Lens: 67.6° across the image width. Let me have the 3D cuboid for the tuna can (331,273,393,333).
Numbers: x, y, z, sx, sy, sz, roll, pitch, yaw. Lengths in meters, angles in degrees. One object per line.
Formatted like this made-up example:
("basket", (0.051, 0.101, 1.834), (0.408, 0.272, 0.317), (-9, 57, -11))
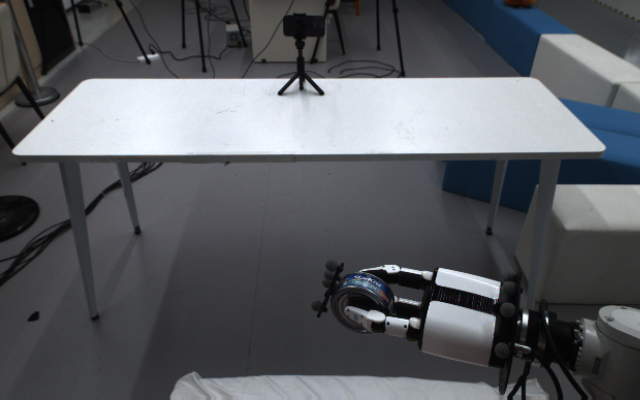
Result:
("tuna can", (0.063, 0.143, 0.675), (0.085, 0.085, 0.034), (12, 30, 14))
